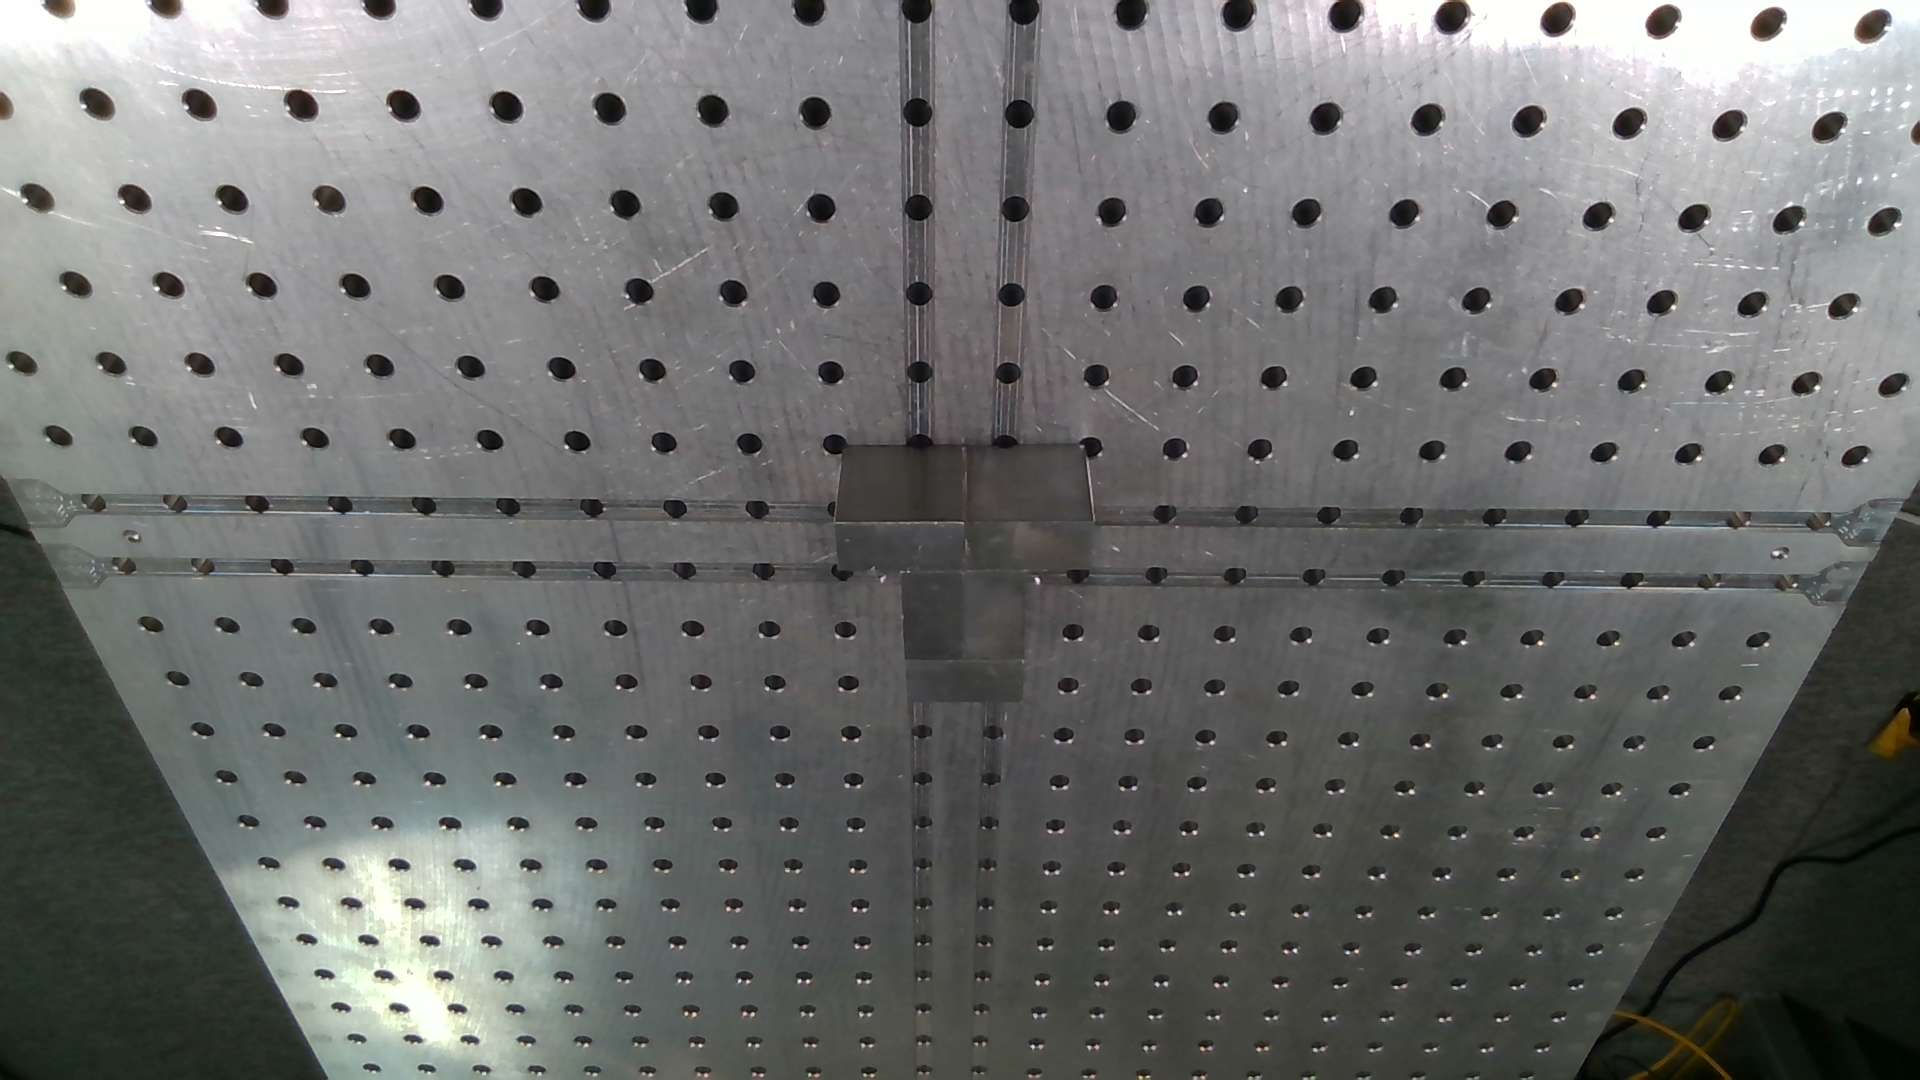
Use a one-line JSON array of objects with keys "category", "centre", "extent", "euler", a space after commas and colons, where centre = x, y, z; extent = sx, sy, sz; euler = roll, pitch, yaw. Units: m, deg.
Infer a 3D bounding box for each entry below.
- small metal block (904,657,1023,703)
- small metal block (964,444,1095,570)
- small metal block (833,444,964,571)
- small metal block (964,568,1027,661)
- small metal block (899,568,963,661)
[{"category": "small metal block", "centre": [0.002, 0.044, 0.602], "extent": [0.050, 0.050, 0.025], "euler": [0, 130, 0]}, {"category": "small metal block", "centre": [0.027, -0.014, 0.553], "extent": [0.050, 0.050, 0.025], "euler": [0, 130, 0]}, {"category": "small metal block", "centre": [-0.023, -0.014, 0.554], "extent": [0.050, 0.050, 0.025], "euler": [0, 130, 0]}, {"category": "small metal block", "centre": [0.014, 0.015, 0.578], "extent": [0.025, 0.050, 0.050], "euler": [0, 130, 0]}, {"category": "small metal block", "centre": [-0.011, 0.015, 0.578], "extent": [0.025, 0.050, 0.050], "euler": [0, 130, 0]}]
